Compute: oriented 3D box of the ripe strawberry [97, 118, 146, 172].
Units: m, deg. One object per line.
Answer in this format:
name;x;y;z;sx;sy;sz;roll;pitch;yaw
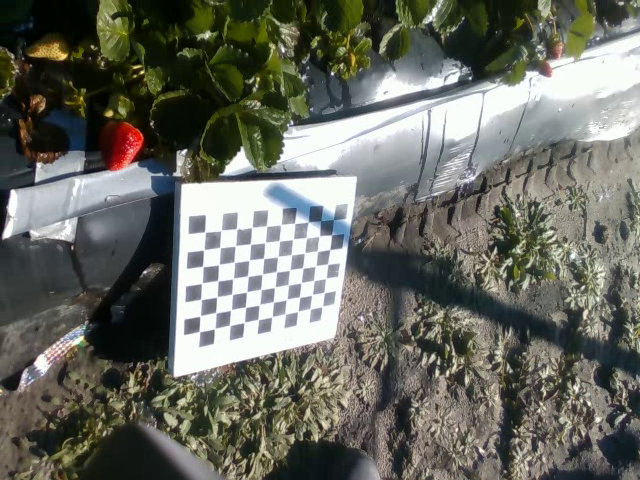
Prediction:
ripe strawberry;-0.239;-0.107;0.763;0.057;0.065;0.061;-24;-38;27
